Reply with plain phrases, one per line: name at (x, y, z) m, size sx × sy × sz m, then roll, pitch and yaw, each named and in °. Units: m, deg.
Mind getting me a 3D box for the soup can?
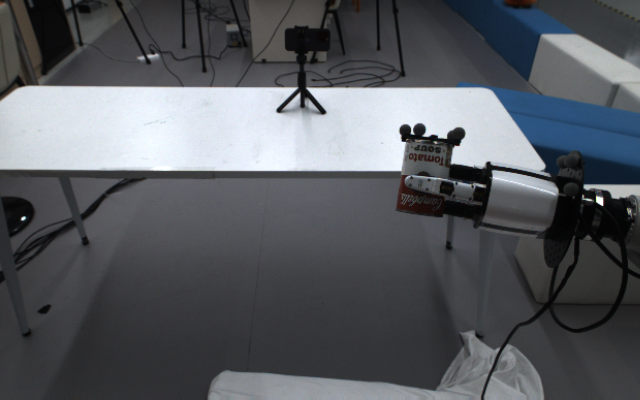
soup can at (0.149, -0.032, 0.686) m, size 0.067 × 0.101 × 0.067 m, roll 7°, pitch 4°, yaw 0°
